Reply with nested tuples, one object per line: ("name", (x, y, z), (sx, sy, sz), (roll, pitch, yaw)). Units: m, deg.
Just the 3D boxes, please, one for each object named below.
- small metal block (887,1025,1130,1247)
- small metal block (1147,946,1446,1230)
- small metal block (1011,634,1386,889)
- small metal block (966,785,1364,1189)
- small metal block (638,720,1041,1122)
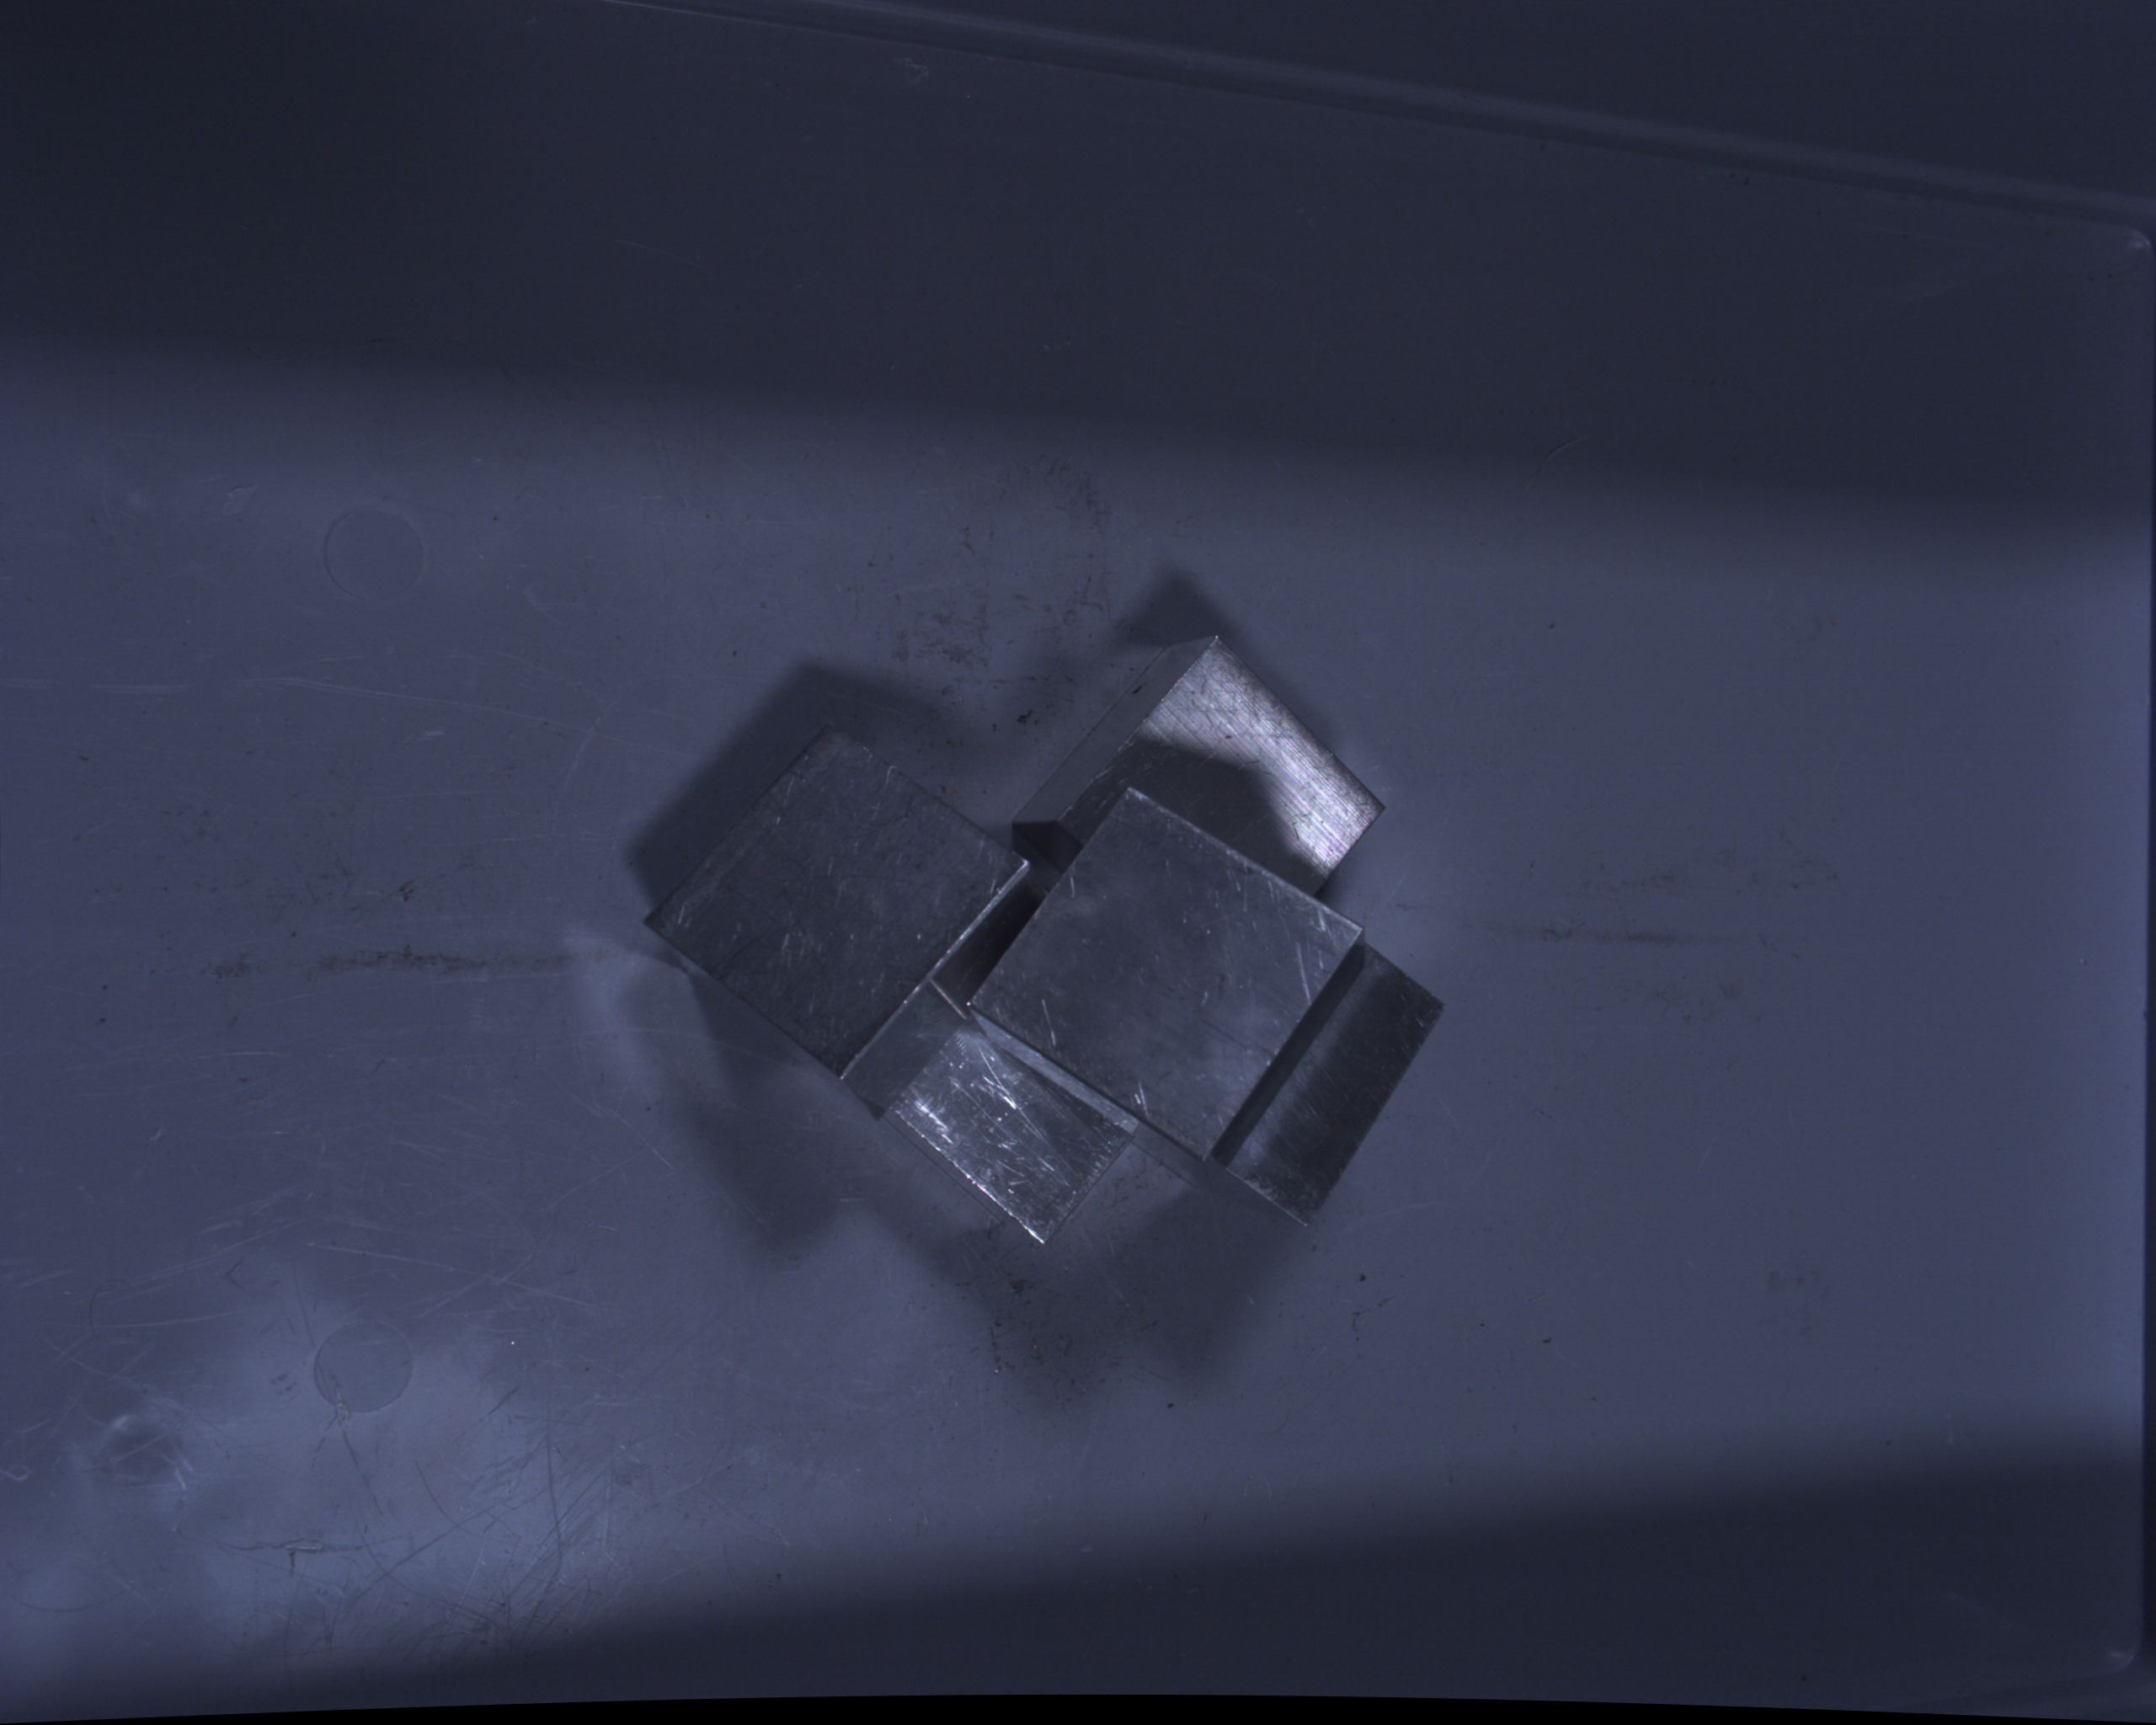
("small metal block", (-0.012, 0.038, 0.405), (0.050, 0.025, 0.050), (44, 76, -15))
("small metal block", (0.038, 0.040, 0.411), (0.025, 0.050, 0.050), (37, 78, -17))
("small metal block", (0.024, -0.010, 0.419), (0.050, 0.025, 0.050), (44, 76, -15))
("small metal block", (0.017, 0.022, 0.377), (0.050, 0.025, 0.050), (32, 77, 17))
("small metal block", (-0.042, 0.010, 0.381), (0.050, 0.025, 0.050), (35, 76, 22))
